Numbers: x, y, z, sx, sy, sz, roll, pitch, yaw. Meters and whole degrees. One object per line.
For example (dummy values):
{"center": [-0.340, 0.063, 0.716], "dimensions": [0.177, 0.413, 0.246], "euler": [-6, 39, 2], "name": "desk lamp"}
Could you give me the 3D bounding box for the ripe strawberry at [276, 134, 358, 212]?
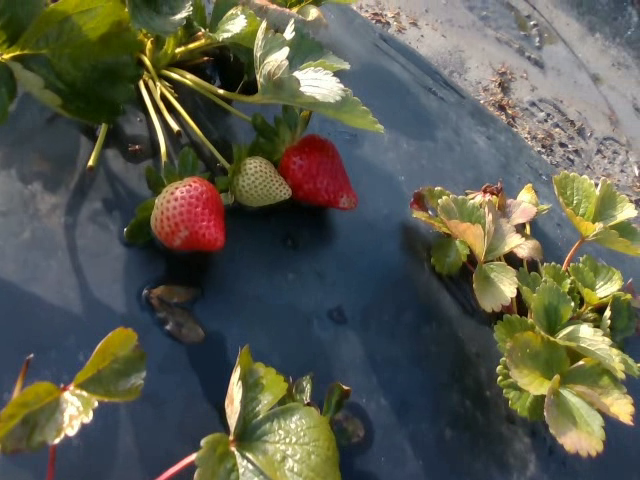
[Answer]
{"center": [0.003, -0.038, 0.391], "dimensions": [0.048, 0.065, 0.050], "euler": [-41, -1, 1], "name": "ripe strawberry"}
